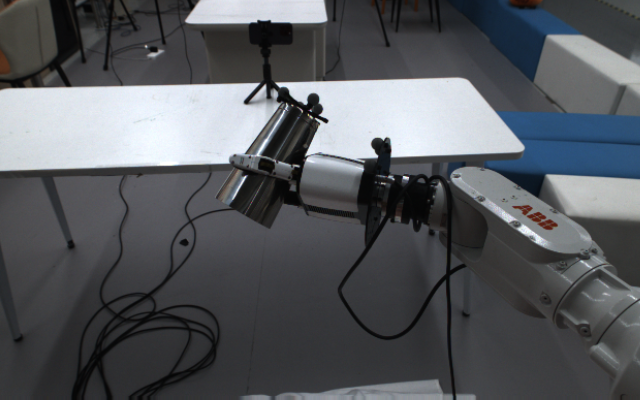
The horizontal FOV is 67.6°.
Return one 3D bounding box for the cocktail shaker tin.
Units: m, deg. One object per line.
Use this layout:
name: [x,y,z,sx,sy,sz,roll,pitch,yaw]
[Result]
cocktail shaker tin: [-0.072,-0.059,0.712,0.093,0.093,0.170,26,83,31]
